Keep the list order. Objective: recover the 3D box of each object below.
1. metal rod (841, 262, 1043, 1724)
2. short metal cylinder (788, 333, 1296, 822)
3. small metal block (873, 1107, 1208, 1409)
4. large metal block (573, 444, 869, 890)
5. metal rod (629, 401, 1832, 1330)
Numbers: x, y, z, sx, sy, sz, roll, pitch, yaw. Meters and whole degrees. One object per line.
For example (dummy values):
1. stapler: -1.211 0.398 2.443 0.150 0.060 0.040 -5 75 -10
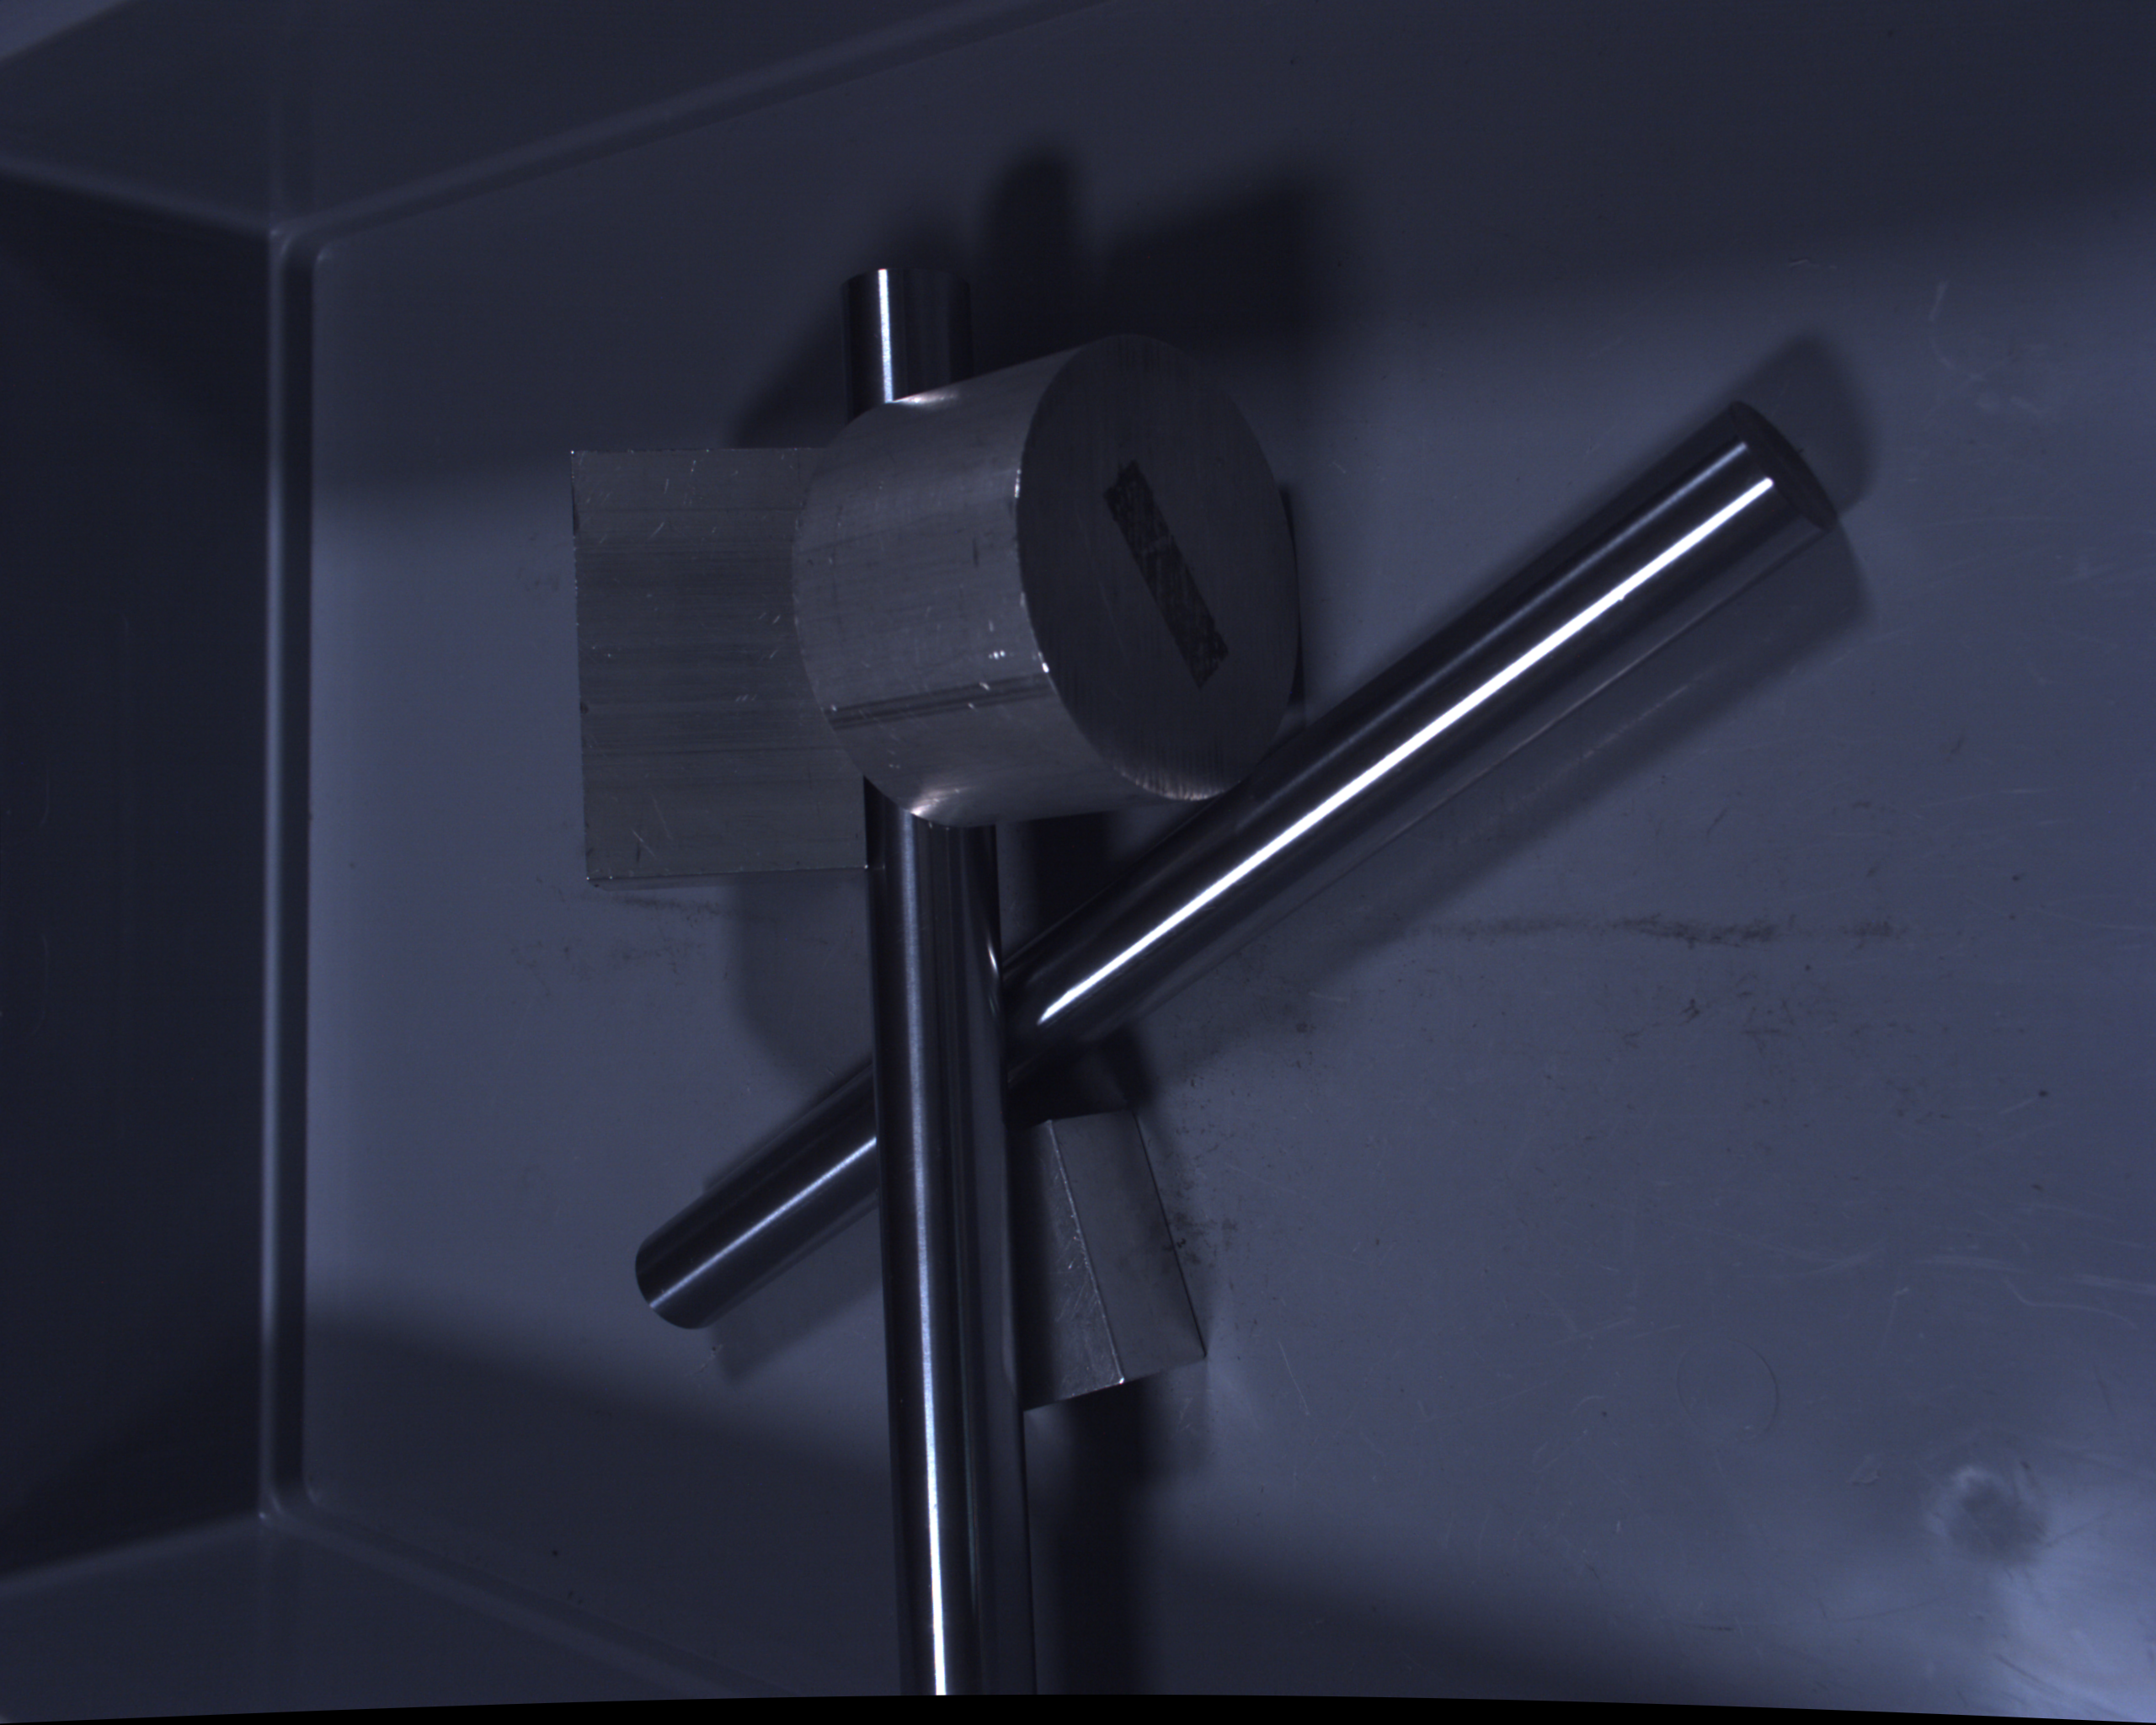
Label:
1. metal rod: -0.025 0.038 0.390 0.025 0.025 0.298 -6 85 39
2. short metal cylinder: -0.004 -0.048 0.370 0.050 0.081 0.080 -5 87 38
3. small metal block: -0.008 0.080 0.410 0.050 0.025 0.050 -27 74 36
4. large metal block: -0.072 -0.036 0.420 0.080 0.050 0.080 165 102 -80
5. metal rod: 0.007 0.018 0.396 0.299 0.025 0.025 -38 67 33
